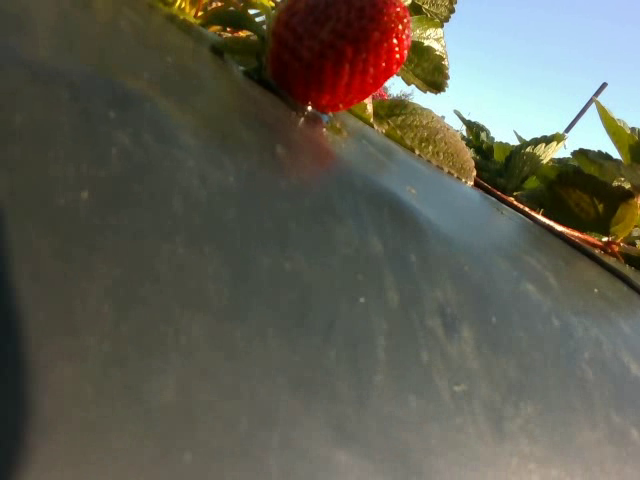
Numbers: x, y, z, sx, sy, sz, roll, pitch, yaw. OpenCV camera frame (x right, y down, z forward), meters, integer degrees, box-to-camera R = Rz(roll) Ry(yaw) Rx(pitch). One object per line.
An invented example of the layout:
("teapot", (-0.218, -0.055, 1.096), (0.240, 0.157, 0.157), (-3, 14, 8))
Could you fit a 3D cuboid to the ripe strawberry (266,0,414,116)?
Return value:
("ripe strawberry", (0.005, -0.039, 0.121), (0.028, 0.031, 0.041), (-9, 2, -38))
